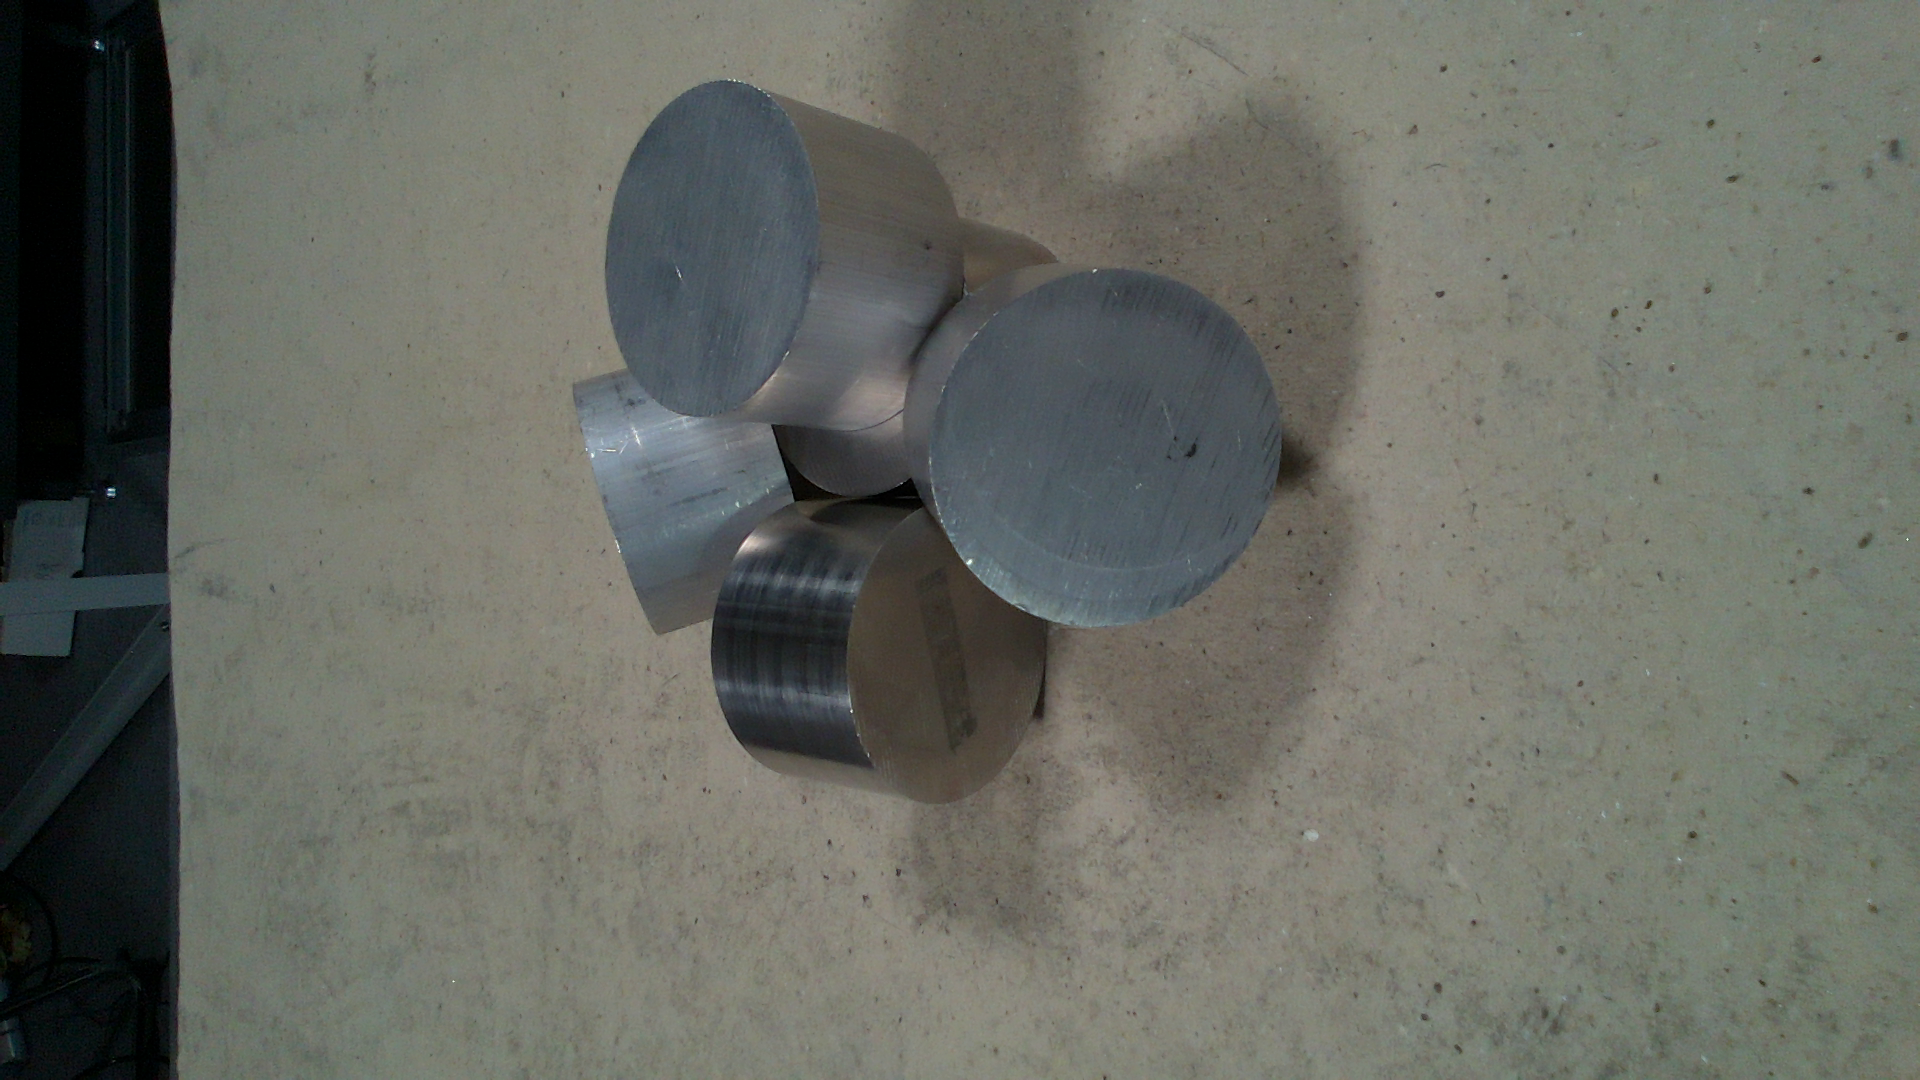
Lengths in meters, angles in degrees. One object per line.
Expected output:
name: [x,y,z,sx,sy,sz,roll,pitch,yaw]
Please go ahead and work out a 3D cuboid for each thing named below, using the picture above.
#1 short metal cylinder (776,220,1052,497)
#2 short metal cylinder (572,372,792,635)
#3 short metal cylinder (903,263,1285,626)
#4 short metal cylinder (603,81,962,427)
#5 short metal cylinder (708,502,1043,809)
short metal cylinder: [-0.011,-0.052,0.388,0.080,0.050,0.080,0,90,40]
short metal cylinder: [-0.080,-0.016,0.420,0.080,0.050,0.080,162,90,-82]
short metal cylinder: [0.029,-0.025,0.326,0.050,0.080,0.080,-131,51,-75]
short metal cylinder: [-0.046,-0.070,0.351,0.080,0.050,0.080,0,90,40]
short metal cylinder: [-0.021,0.029,0.376,0.050,0.080,0.080,2,91,40]
